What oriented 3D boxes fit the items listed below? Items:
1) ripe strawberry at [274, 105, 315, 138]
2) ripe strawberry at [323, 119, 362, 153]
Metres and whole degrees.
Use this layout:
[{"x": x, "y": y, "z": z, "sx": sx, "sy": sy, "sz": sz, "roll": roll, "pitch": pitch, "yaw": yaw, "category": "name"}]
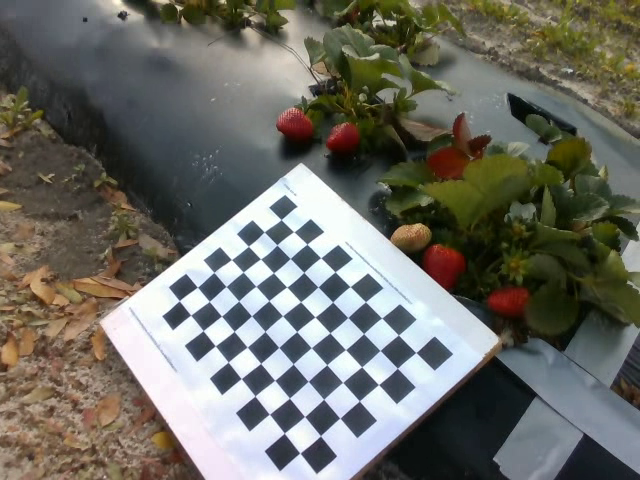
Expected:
[{"x": -0.035, "y": -0.148, "z": 0.820, "sx": 0.050, "sy": 0.045, "sz": 0.061, "roll": 30, "pitch": 32, "yaw": 31, "category": "ripe strawberry"}, {"x": 0.028, "y": -0.132, "z": 0.804, "sx": 0.042, "sy": 0.034, "sz": 0.053, "roll": 24, "pitch": 32, "yaw": 29, "category": "ripe strawberry"}]
